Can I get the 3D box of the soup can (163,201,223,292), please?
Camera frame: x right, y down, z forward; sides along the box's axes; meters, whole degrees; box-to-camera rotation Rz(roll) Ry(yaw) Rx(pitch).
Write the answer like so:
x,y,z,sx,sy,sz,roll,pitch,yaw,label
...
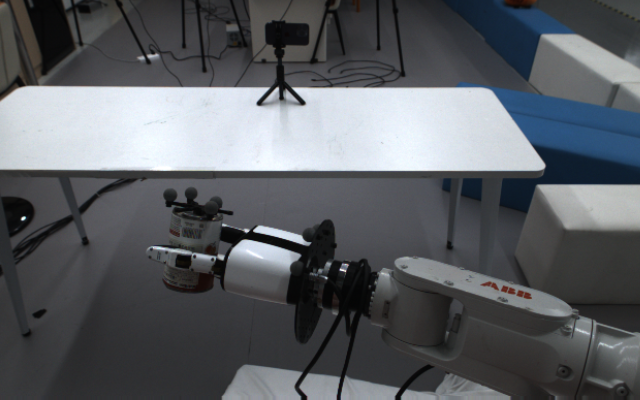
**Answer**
x,y,z,sx,sy,sz,roll,pitch,yaw,label
-0.168,0.066,0.645,0.067,0.101,0.067,10,9,-2,soup can
